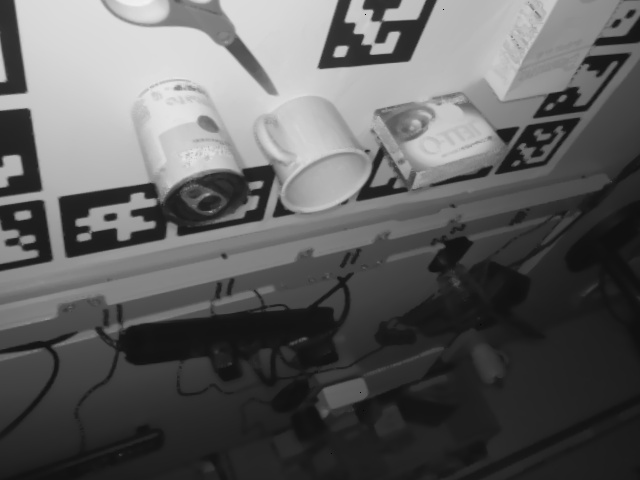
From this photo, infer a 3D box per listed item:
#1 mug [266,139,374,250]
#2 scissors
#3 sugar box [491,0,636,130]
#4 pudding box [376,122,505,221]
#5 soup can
[{"bbox_3d":[-0.008,-0.053,0.700,0.093,0.081,0.117,-33,151,6],"label":"mug"},{"bbox_3d":[-0.076,-0.141,0.574,0.087,0.016,0.204,-43,147,8],"label":"scissors"},{"bbox_3d":[0.254,-0.198,0.726,0.094,0.045,0.174,-16,147,-22],"label":"sugar box"},{"bbox_3d":[0.130,-0.076,0.758,0.115,0.090,0.038,-17,142,-16],"label":"pudding box"},{"bbox_3d":[-0.103,-0.053,0.620,0.068,0.102,0.067,-20,151,-11],"label":"soup can"}]
